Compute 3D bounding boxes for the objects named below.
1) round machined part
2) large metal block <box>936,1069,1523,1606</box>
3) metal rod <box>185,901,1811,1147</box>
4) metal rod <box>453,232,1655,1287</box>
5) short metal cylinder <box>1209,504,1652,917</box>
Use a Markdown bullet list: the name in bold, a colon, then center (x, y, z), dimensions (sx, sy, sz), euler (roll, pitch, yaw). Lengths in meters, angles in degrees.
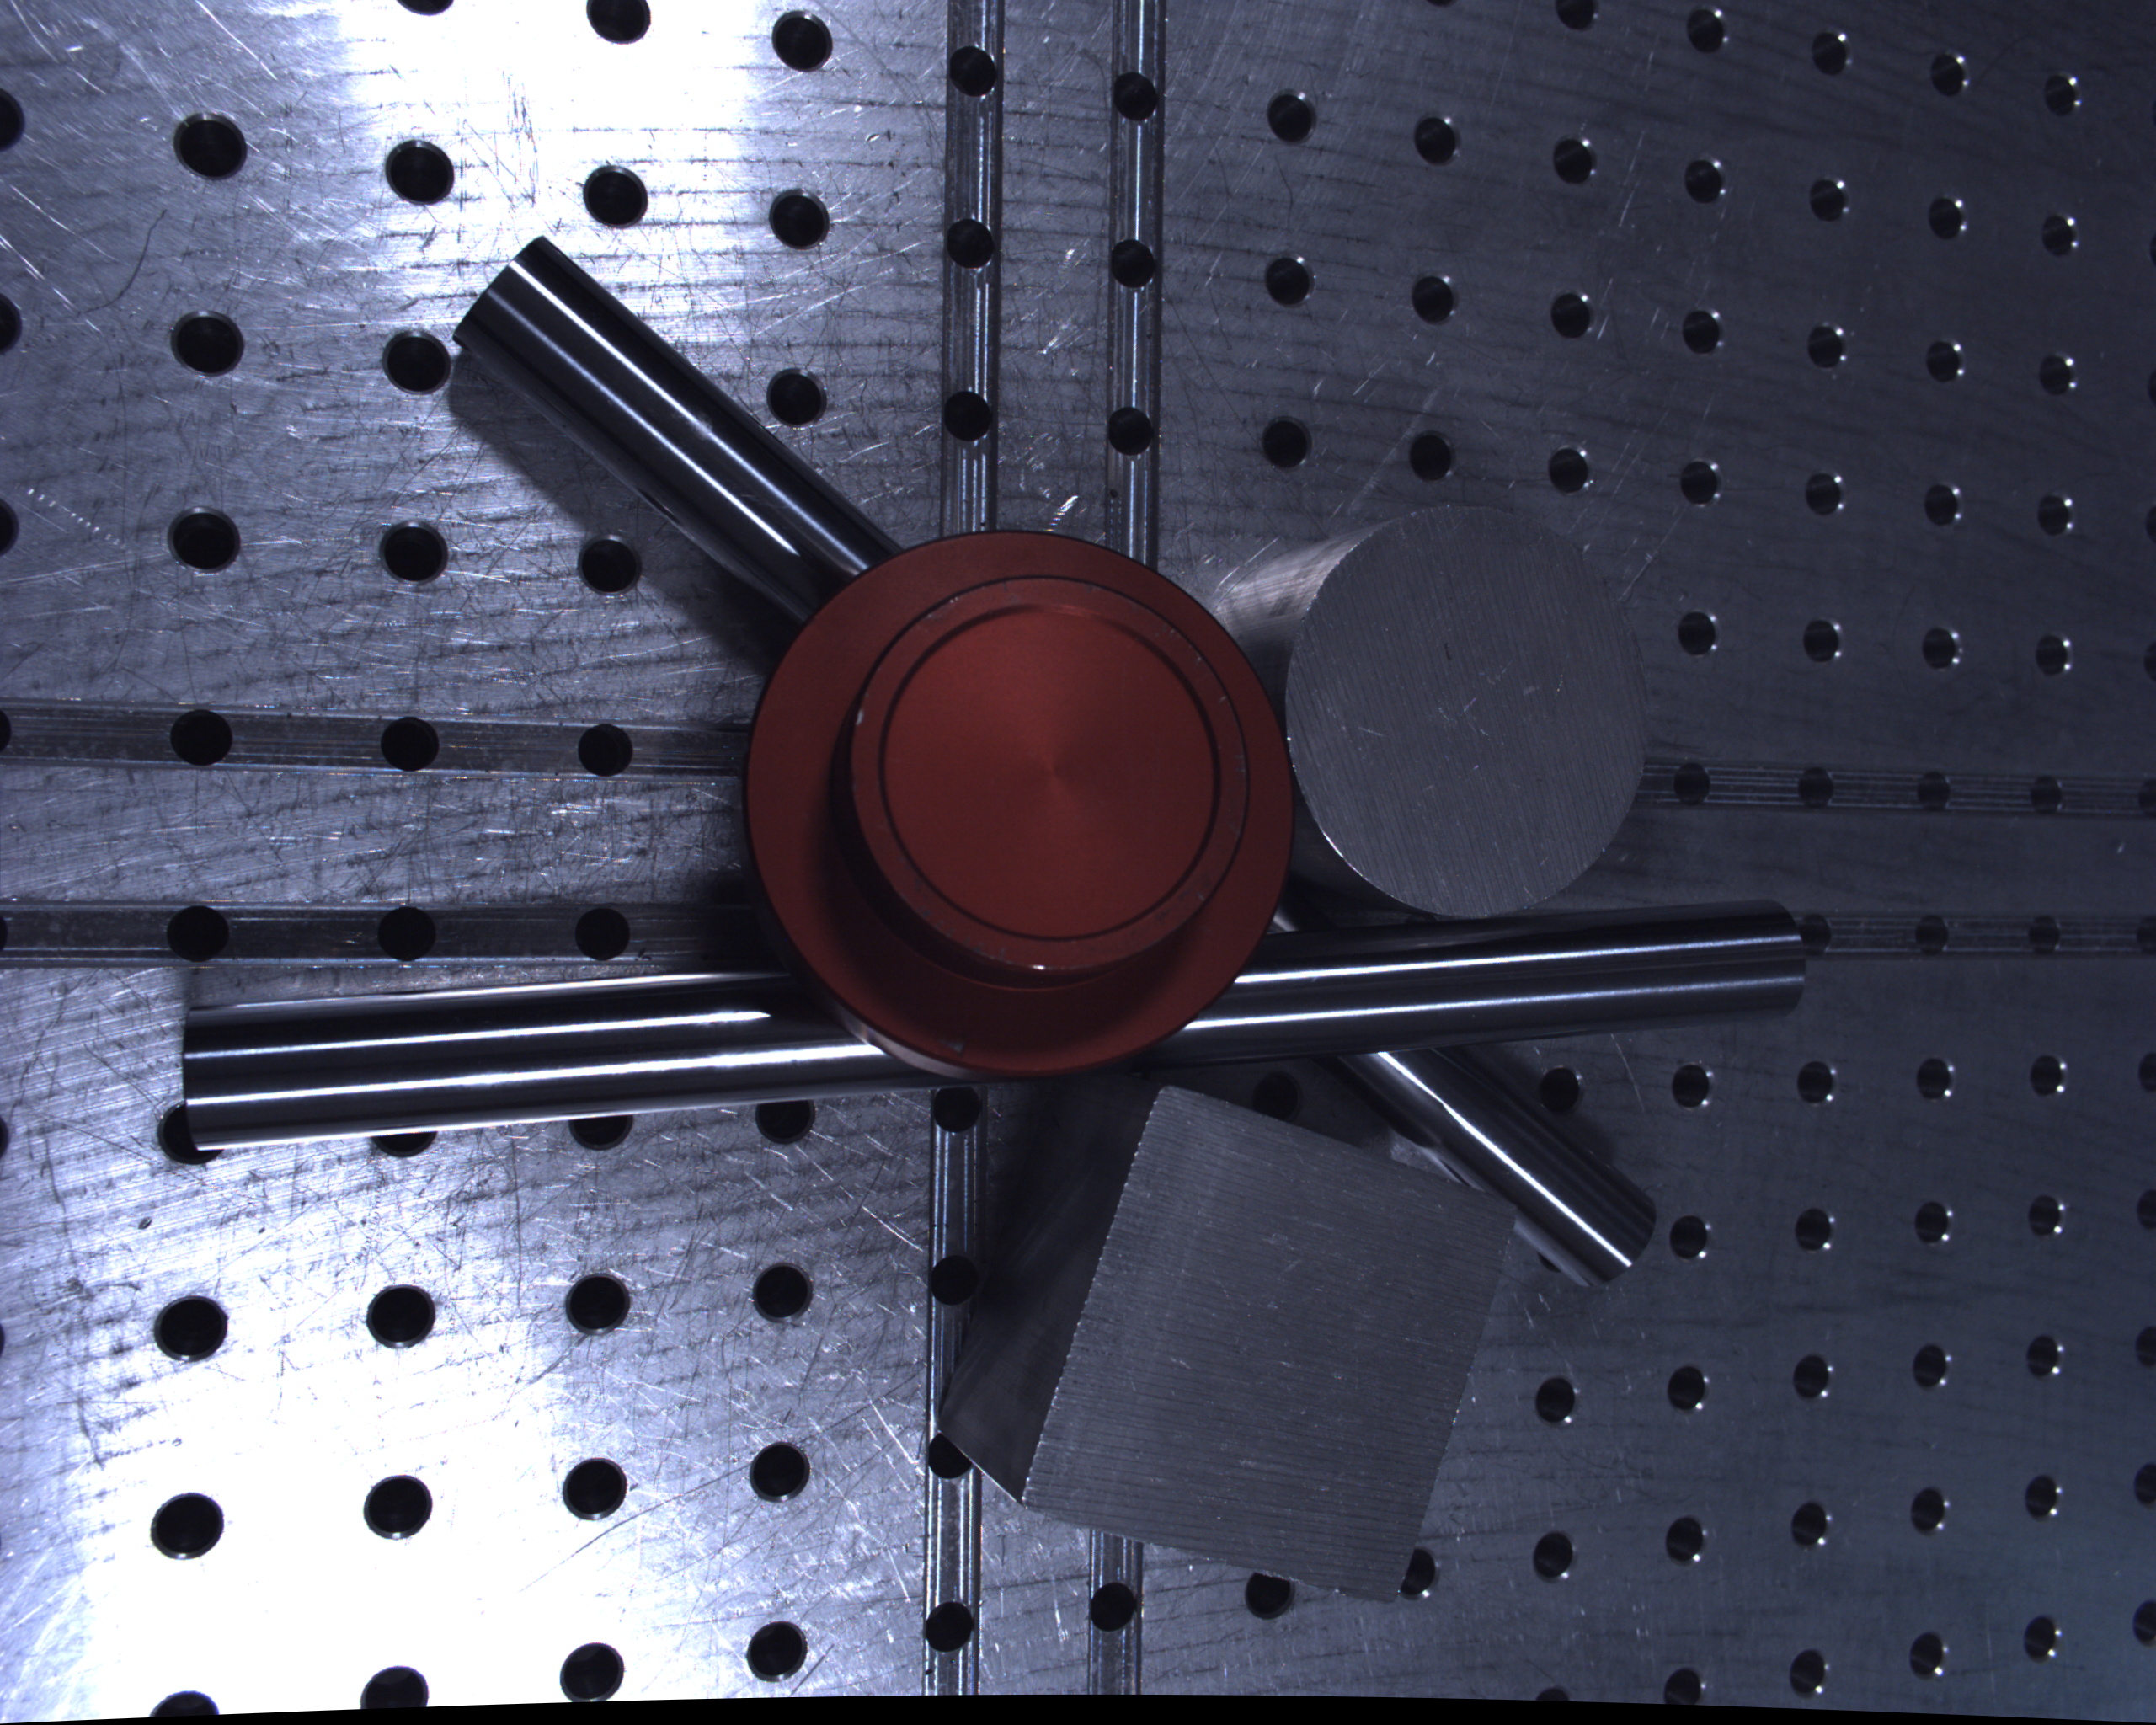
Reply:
- **round machined part**: center (-0.009, -0.011, 0.365), dimensions (0.099, 0.042, 0.097), euler (2, 81, -14)
- **large metal block**: center (0.029, 0.089, 0.409), dimensions (0.080, 0.050, 0.080), euler (21, 83, -19)
- **metal rod**: center (-0.004, 0.028, 0.392), dimensions (0.302, 0.025, 0.025), euler (-3, 91, -13)
- **metal rod**: center (0.006, -0.011, 0.416), dimensions (0.300, 0.025, 0.025), euler (40, 77, -16)
- **short metal cylinder**: center (0.068, -0.029, 0.425), dimensions (0.081, 0.050, 0.079), euler (0, 90, -21)
